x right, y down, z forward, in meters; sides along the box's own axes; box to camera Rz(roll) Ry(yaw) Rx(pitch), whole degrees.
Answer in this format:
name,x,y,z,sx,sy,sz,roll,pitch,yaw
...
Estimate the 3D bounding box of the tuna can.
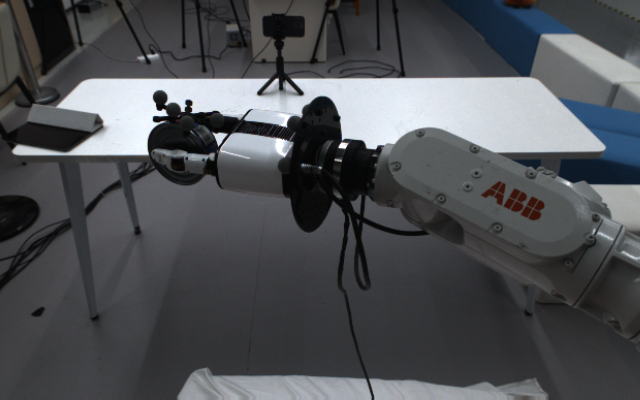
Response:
name,x,y,z,sx,sy,sz,roll,pitch,yaw
tuna can,-0.173,-0.063,0.622,0.085,0.085,0.034,13,30,15
